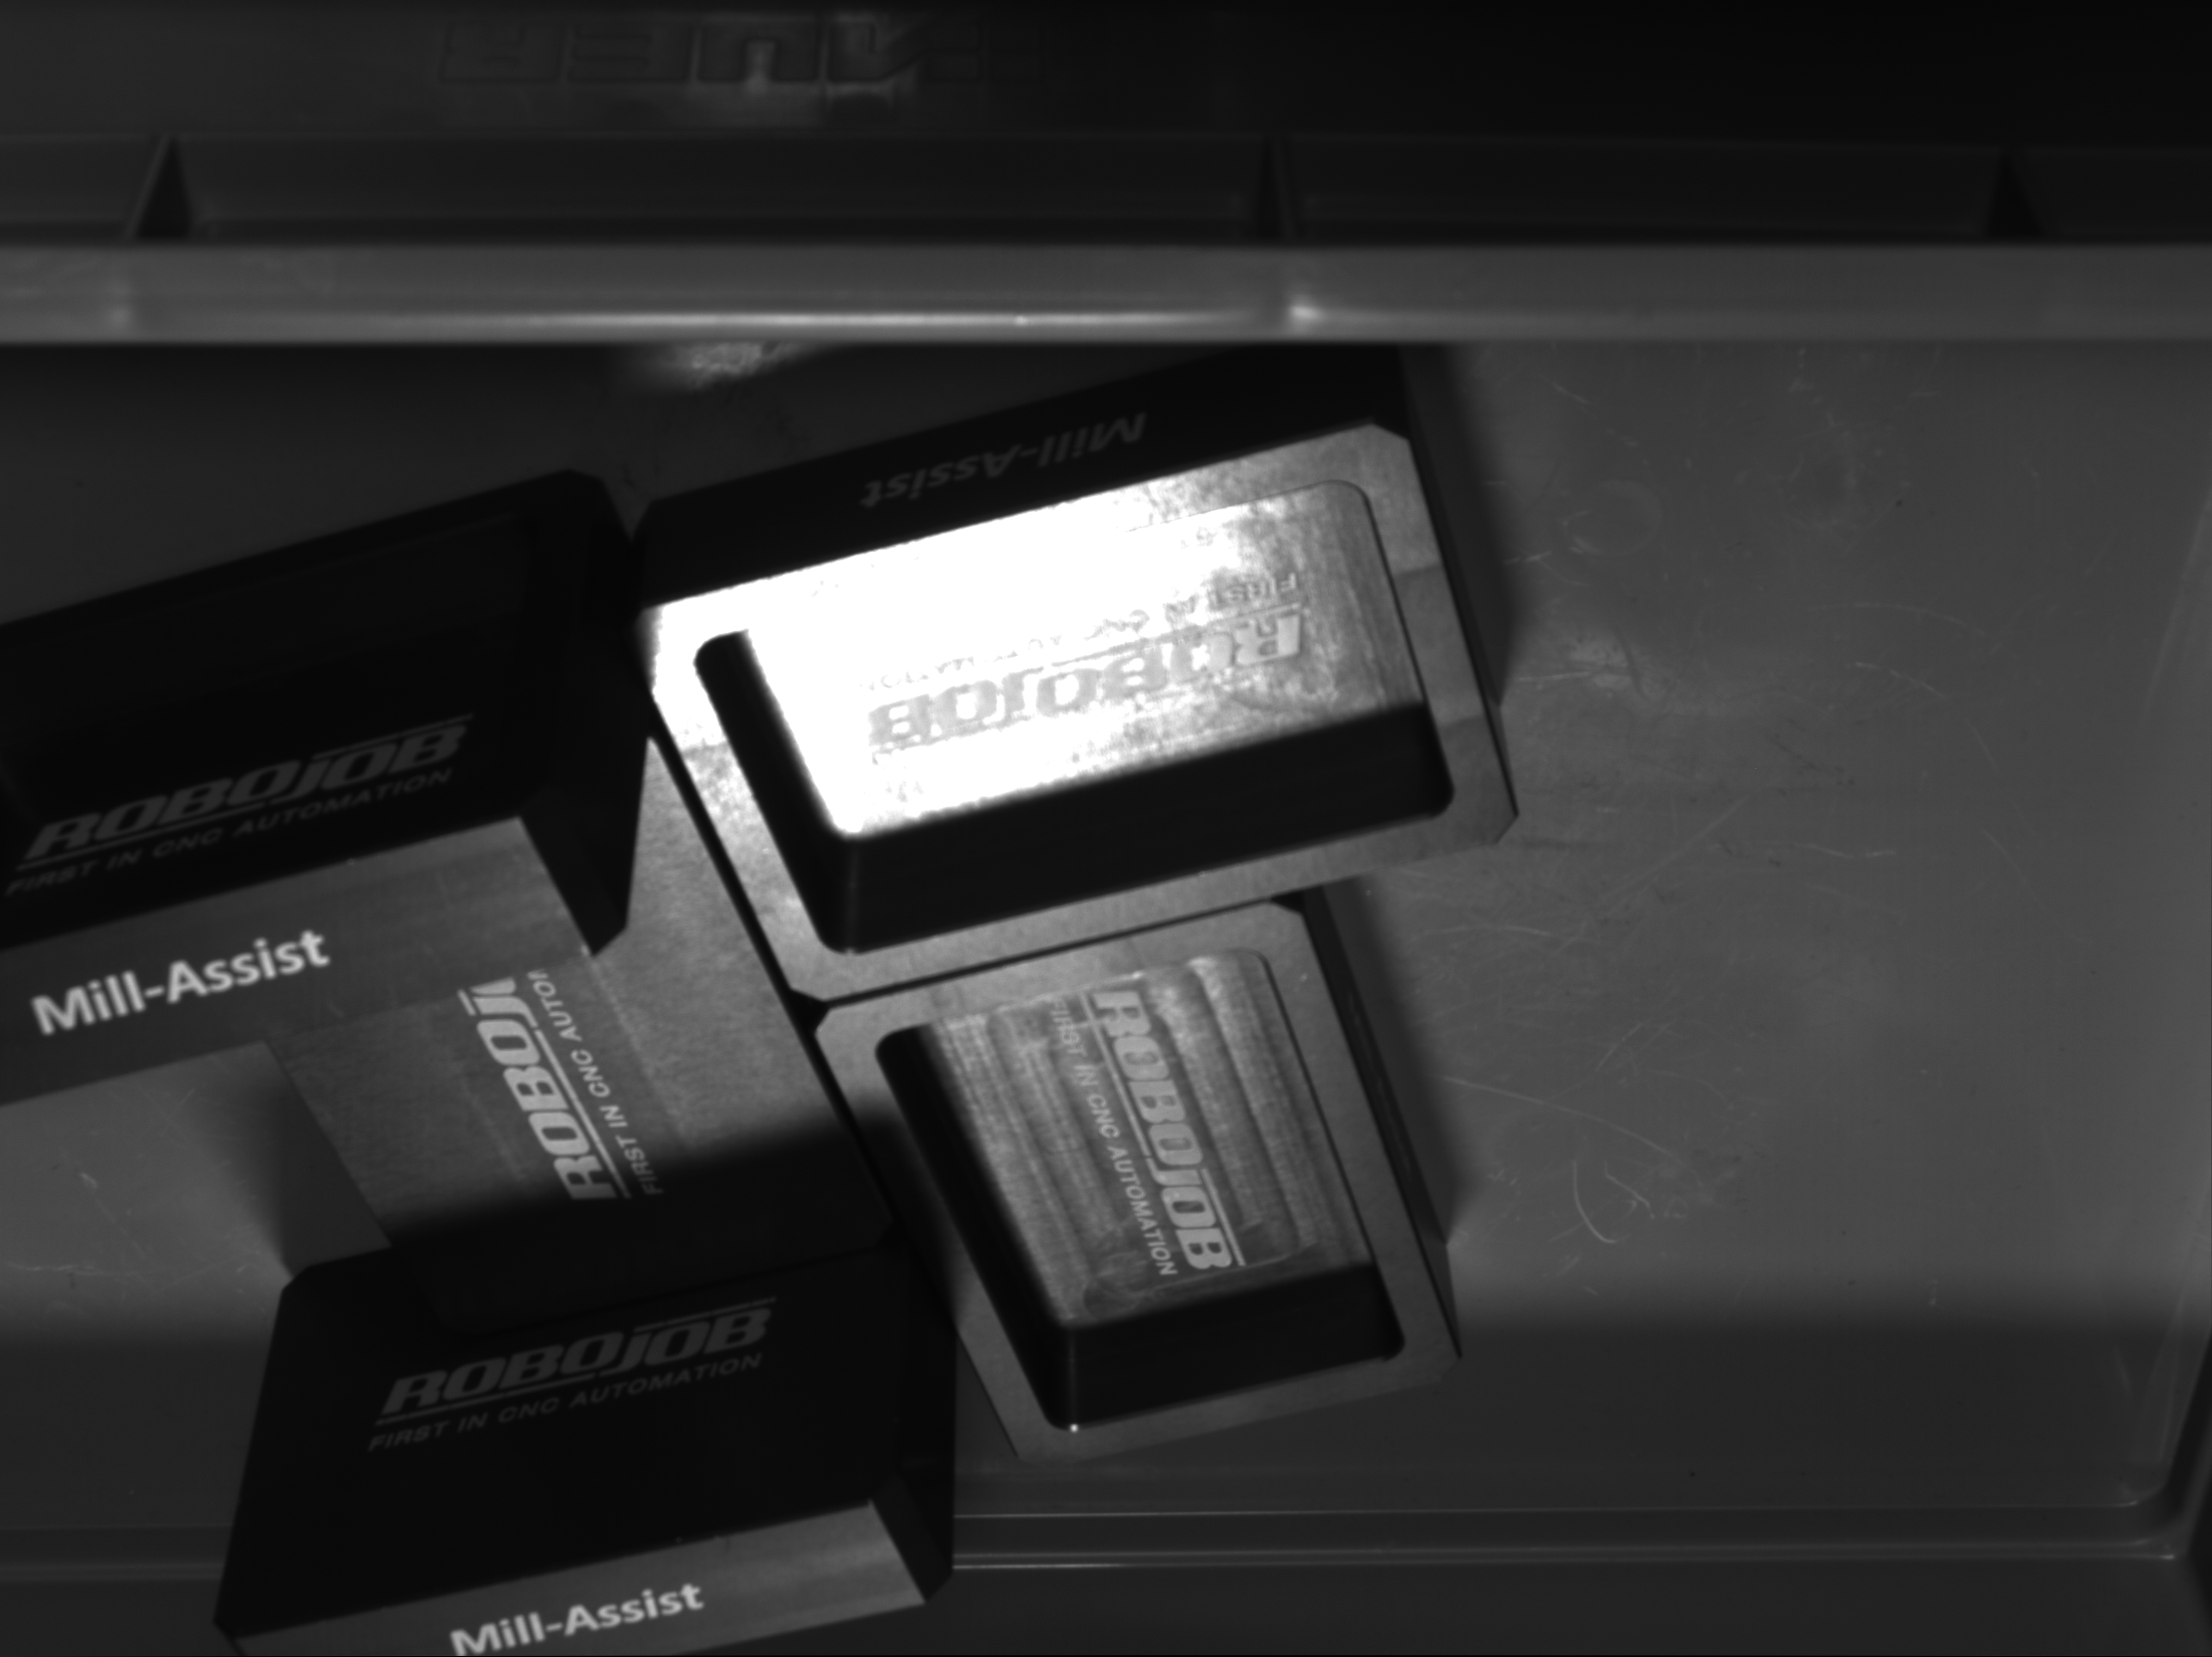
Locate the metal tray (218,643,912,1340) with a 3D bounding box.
[{"bbox_3d":[-0.096,0.031,0.655,0.090,0.030,0.130,-14,129,9],"label":"metal tray"}]

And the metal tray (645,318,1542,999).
[{"bbox_3d":[-0.001,-0.026,0.612,0.130,0.030,0.090,-13,129,9],"label":"metal tray"}]

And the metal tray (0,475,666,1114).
[{"bbox_3d":[-0.137,-0.004,0.584,0.130,0.090,0.030,-14,129,10],"label":"metal tray"}]

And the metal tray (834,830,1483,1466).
[{"bbox_3d":[0.012,0.059,0.684,0.090,0.030,0.130,-14,129,9],"label":"metal tray"}]

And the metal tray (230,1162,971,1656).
[{"bbox_3d":[-0.091,0.113,0.685,0.130,0.090,0.030,-13,129,9],"label":"metal tray"}]
